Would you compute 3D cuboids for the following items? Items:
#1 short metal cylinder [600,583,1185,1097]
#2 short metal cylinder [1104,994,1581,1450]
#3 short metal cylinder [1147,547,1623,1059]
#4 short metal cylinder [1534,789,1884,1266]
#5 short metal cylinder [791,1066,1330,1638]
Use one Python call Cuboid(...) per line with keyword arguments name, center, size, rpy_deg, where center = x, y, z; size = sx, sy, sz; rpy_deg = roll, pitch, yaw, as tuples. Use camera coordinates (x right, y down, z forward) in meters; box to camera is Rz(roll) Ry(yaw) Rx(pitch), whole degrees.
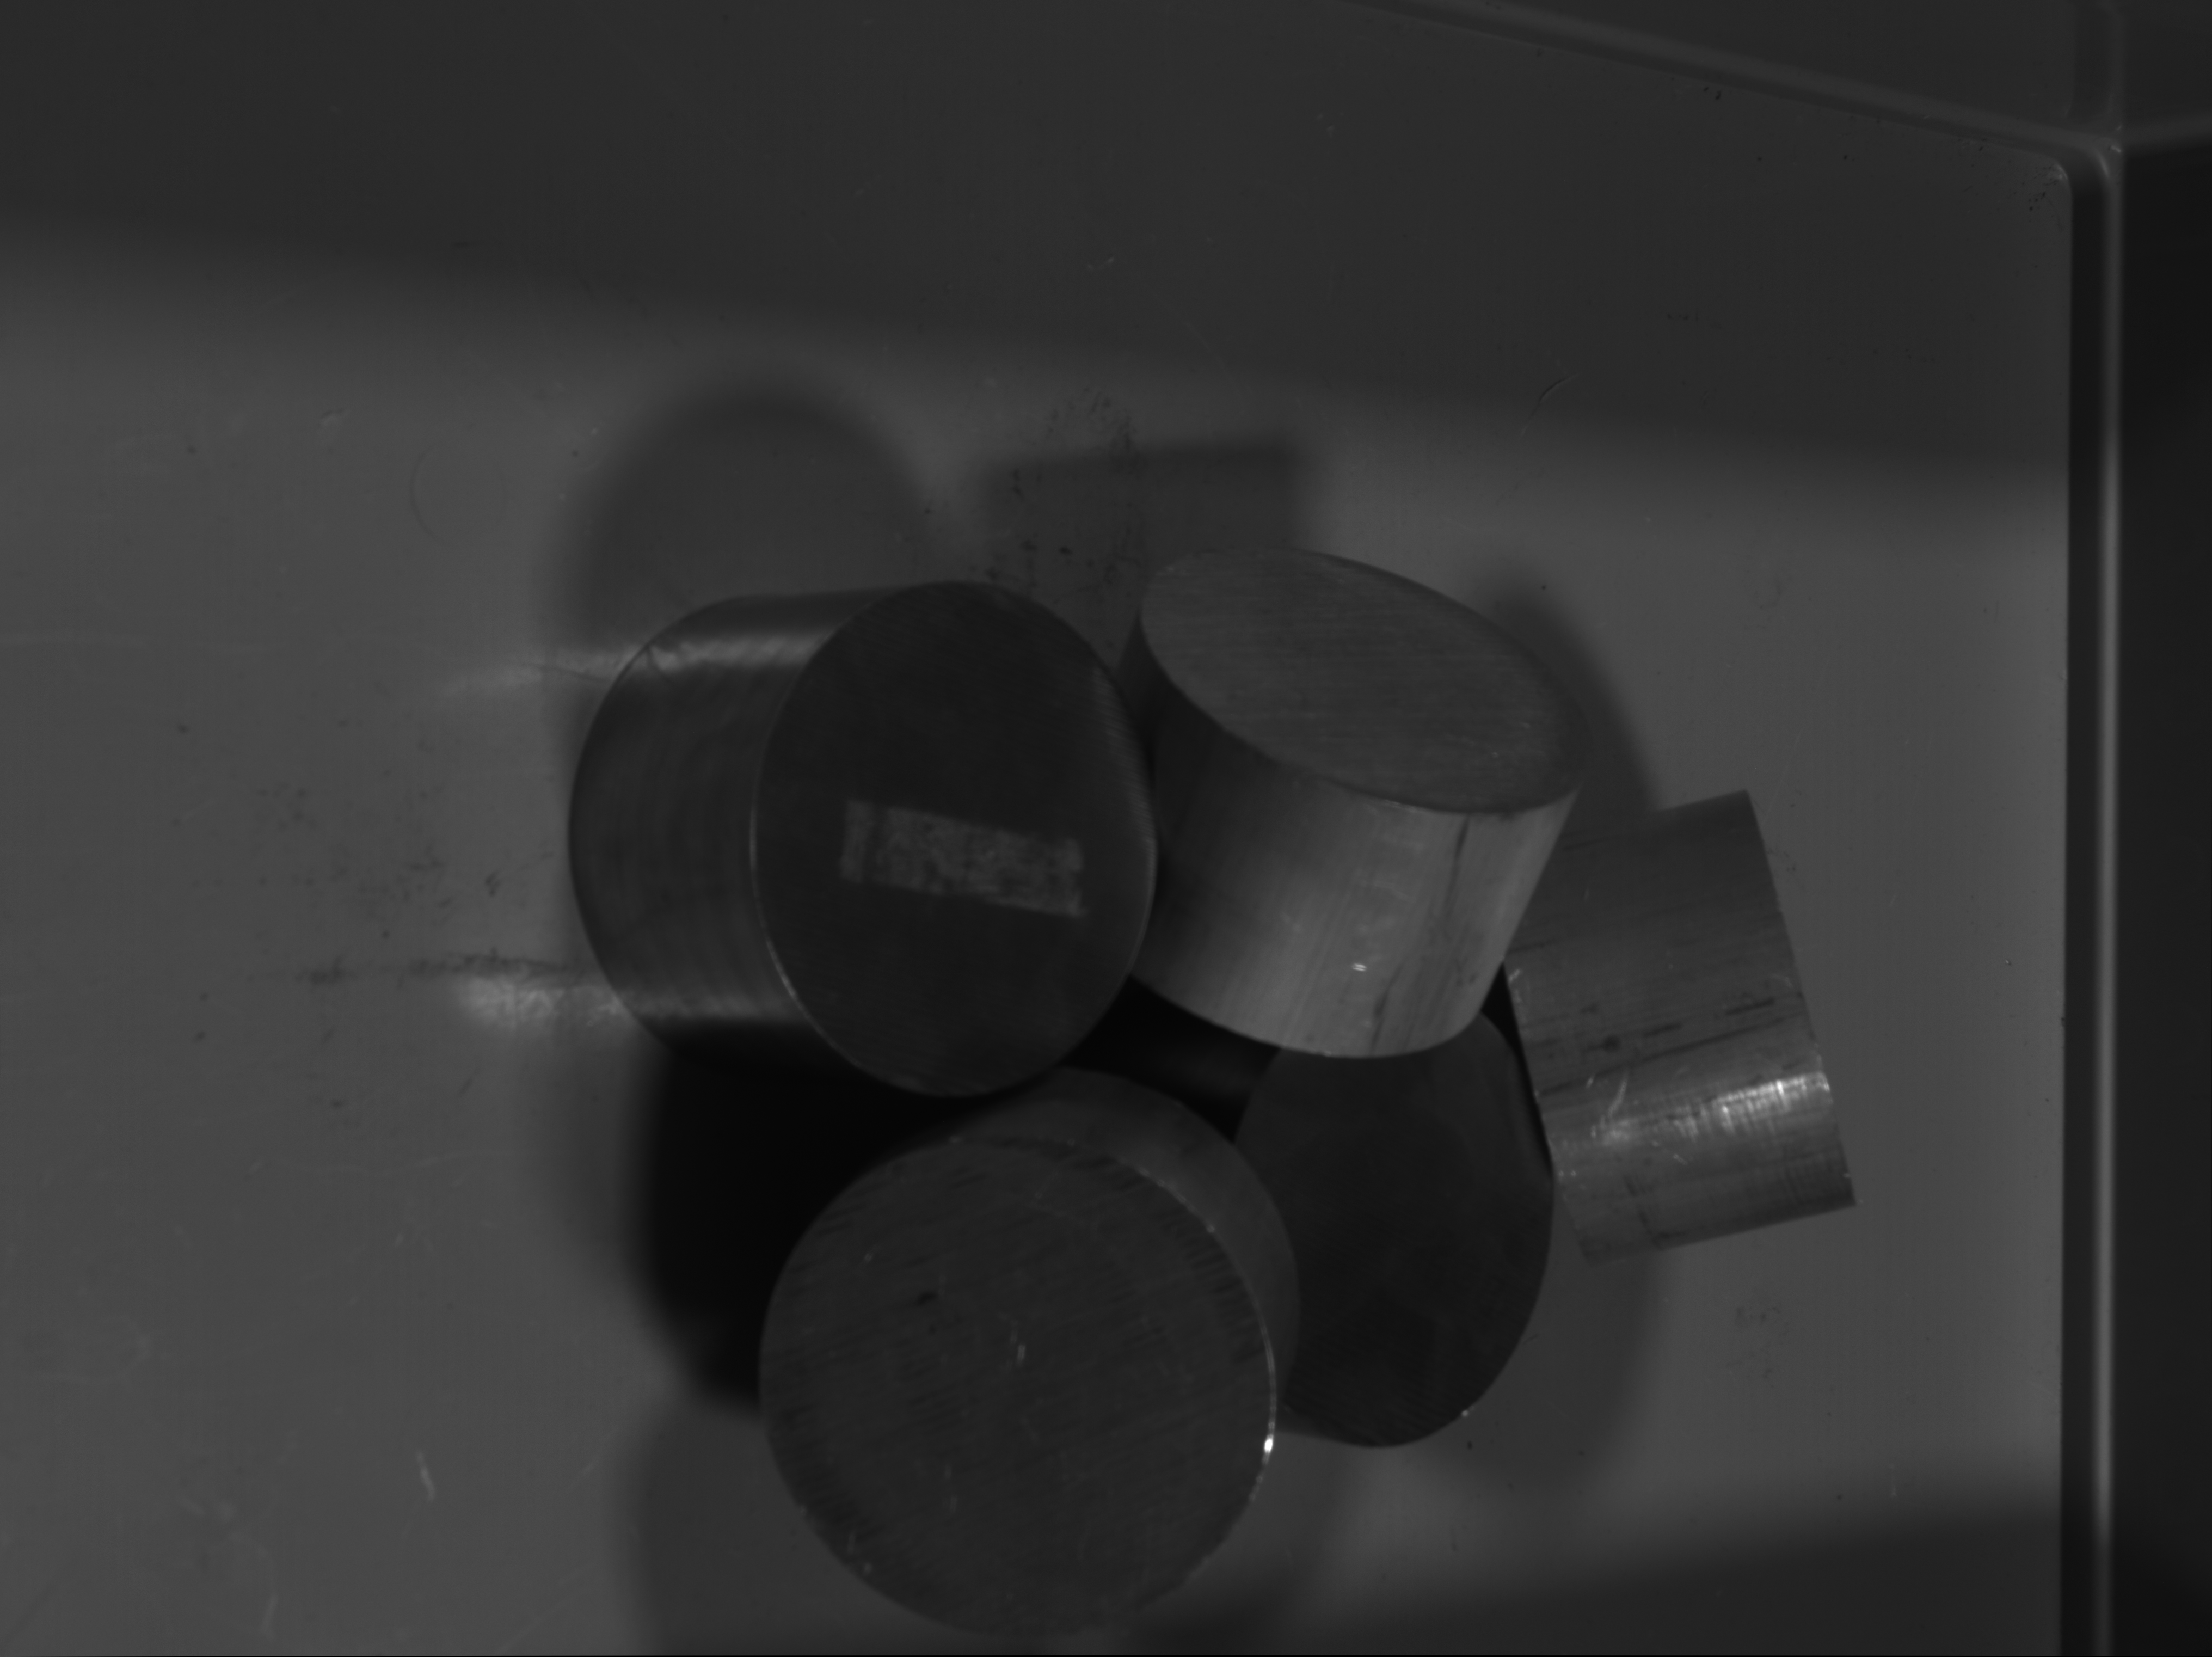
Cuboid(name="short metal cylinder", center=(-0.034, 0.002, 0.590), size=(0.080, 0.050, 0.080), rpy_deg=(0, 90, -40))
Cuboid(name="short metal cylinder", center=(0.039, 0.067, 0.652), size=(0.080, 0.050, 0.080), rpy_deg=(0, 90, -40))
Cuboid(name="short metal cylinder", center=(0.042, -0.005, 0.625), size=(0.080, 0.080, 0.050), rpy_deg=(-10, 132, -39))
Cuboid(name="short metal cylinder", center=(0.111, 0.037, 0.685), size=(0.080, 0.050, 0.080), rpy_deg=(-14, 90, -80))
Cuboid(name="short metal cylinder", center=(-0.006, 0.082, 0.587), size=(0.050, 0.080, 0.080), rpy_deg=(-47, 129, -79))
